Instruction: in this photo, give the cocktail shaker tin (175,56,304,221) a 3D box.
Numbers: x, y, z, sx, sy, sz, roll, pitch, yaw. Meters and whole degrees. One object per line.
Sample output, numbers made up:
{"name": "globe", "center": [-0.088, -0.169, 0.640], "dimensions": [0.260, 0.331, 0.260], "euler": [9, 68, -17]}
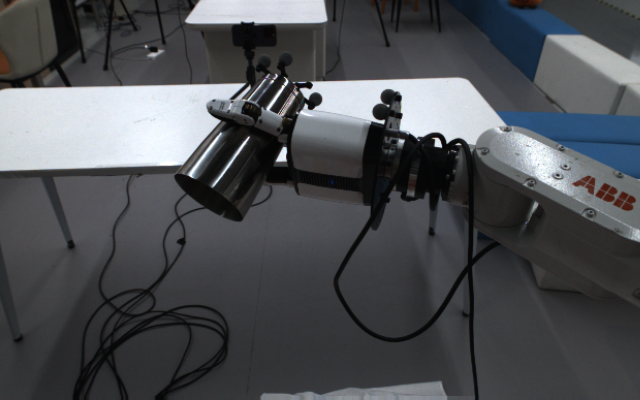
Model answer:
{"name": "cocktail shaker tin", "center": [-0.085, -0.073, 0.583], "dimensions": [0.093, 0.093, 0.170], "euler": [20, 67, 24]}
